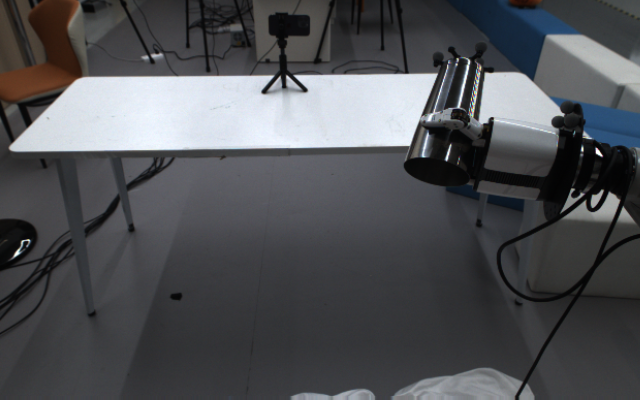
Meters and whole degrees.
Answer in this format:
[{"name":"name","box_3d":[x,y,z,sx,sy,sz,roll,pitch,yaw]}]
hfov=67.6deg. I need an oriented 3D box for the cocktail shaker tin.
[{"name":"cocktail shaker tin","box_3d":[0.185,-0.115,0.696,0.093,0.093,0.170,14,72,16]}]
